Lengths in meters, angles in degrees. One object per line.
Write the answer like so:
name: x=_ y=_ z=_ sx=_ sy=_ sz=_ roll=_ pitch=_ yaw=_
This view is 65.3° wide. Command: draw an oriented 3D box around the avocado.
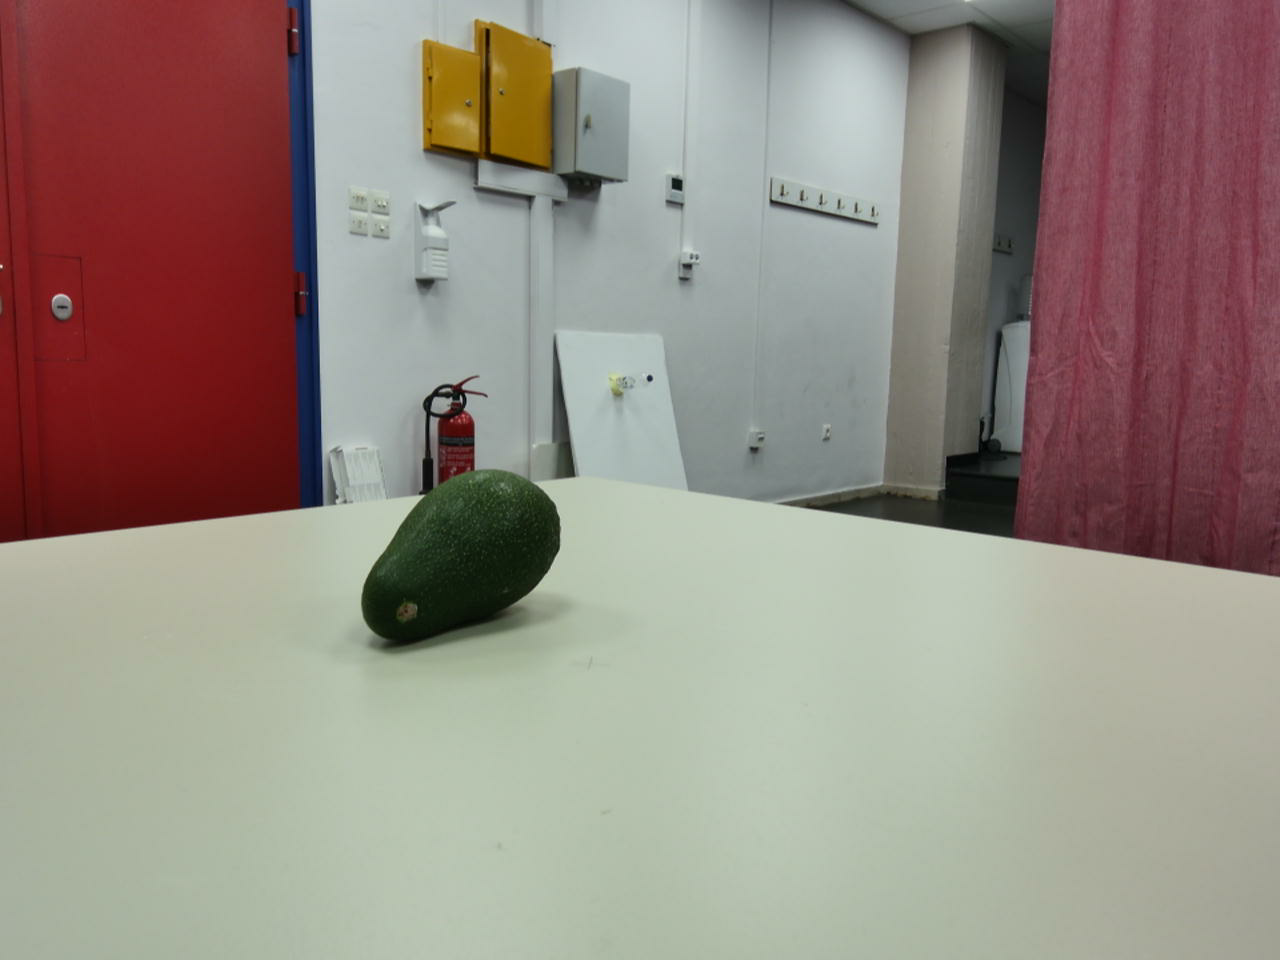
avocado: x=-0.095 y=0.034 z=0.512 sx=0.123 sy=0.076 sz=0.074 roll=-4 pitch=8 yaw=-42
